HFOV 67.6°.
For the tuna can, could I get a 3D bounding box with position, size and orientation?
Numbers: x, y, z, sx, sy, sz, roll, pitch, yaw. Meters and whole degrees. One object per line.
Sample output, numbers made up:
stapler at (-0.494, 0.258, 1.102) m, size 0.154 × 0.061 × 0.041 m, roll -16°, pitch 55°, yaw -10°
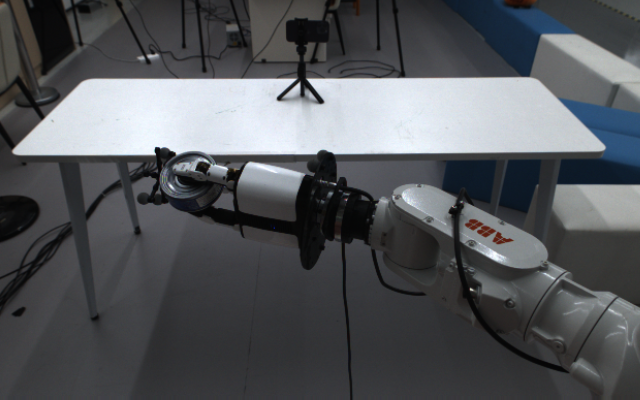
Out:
tuna can at (-0.180, -0.024, 0.686) m, size 0.085 × 0.034 × 0.085 m, roll -2°, pitch 59°, yaw 3°
